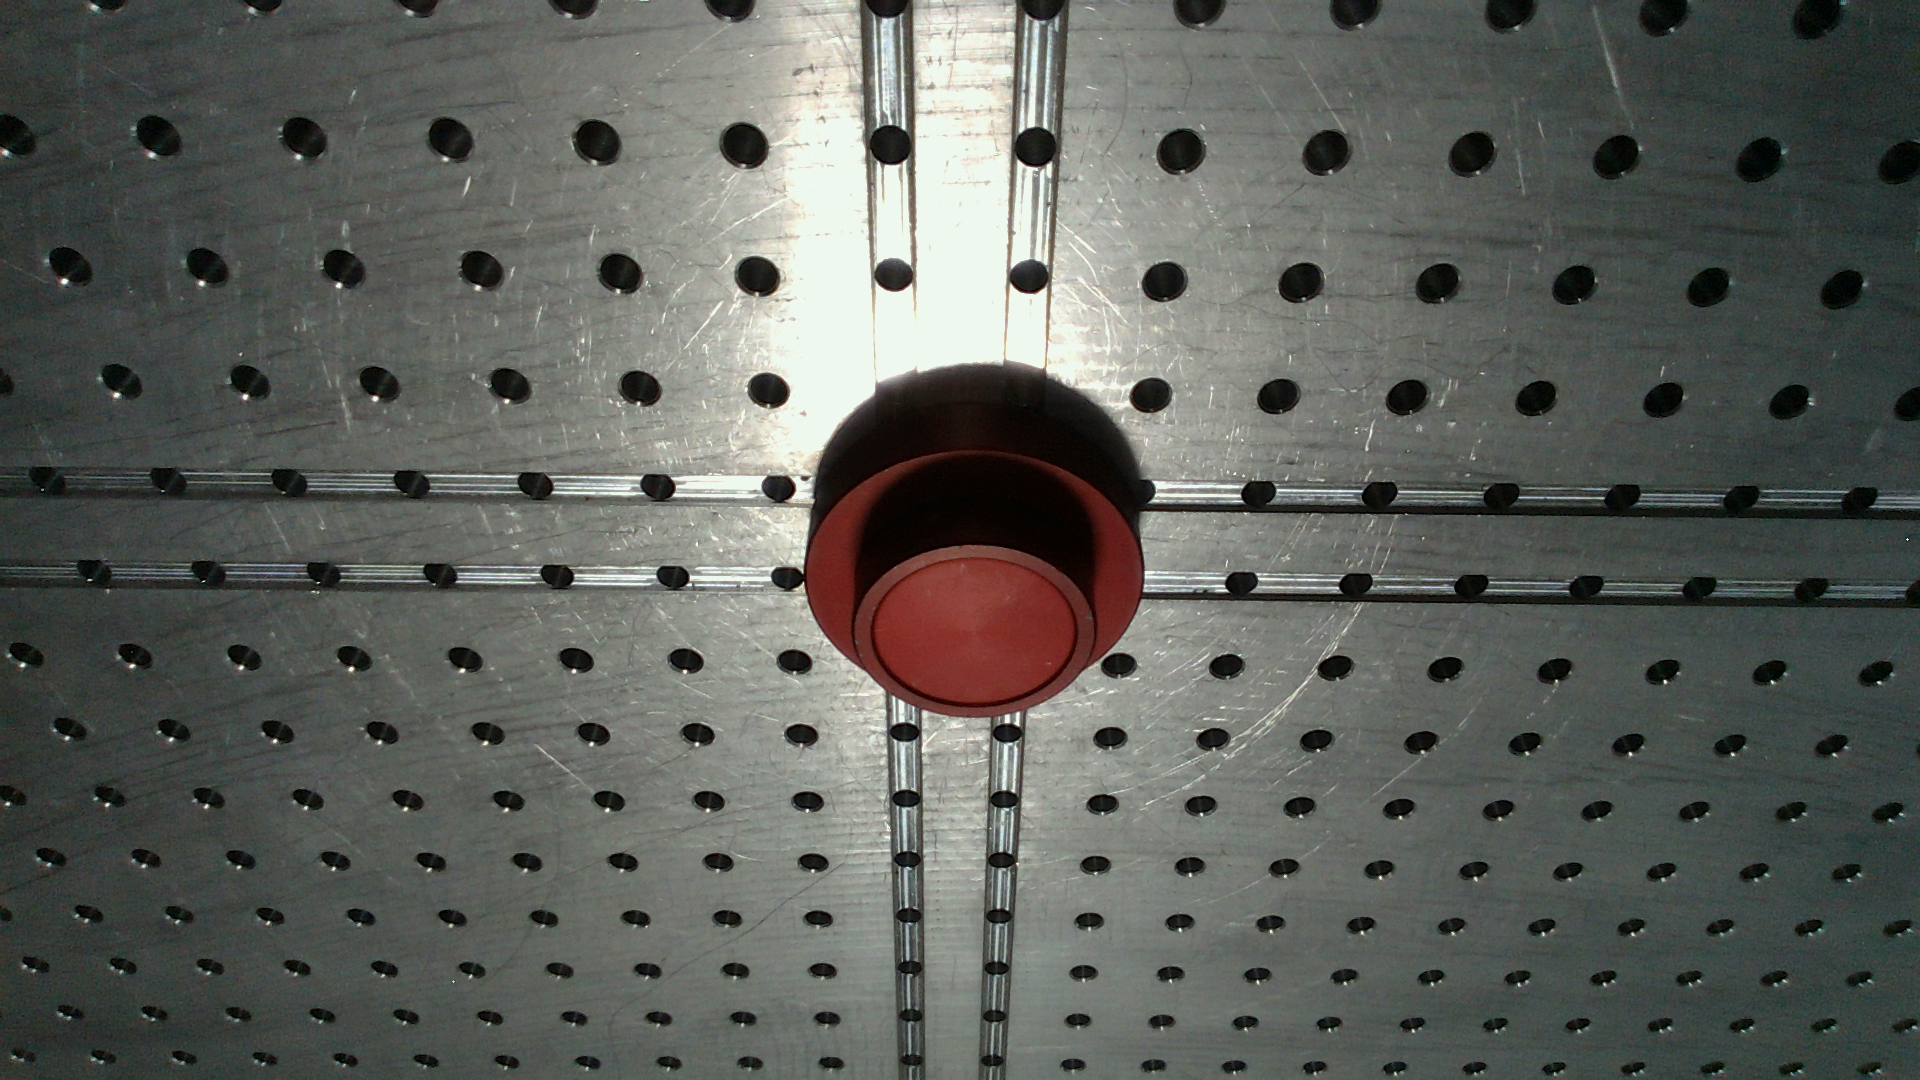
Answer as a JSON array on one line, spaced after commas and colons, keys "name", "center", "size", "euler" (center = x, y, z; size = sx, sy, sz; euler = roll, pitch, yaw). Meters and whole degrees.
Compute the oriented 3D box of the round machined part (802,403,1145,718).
[{"name": "round machined part", "center": [0.004, 0.013, 0.393], "size": [0.098, 0.042, 0.098], "euler": [0, 130, 0]}]
